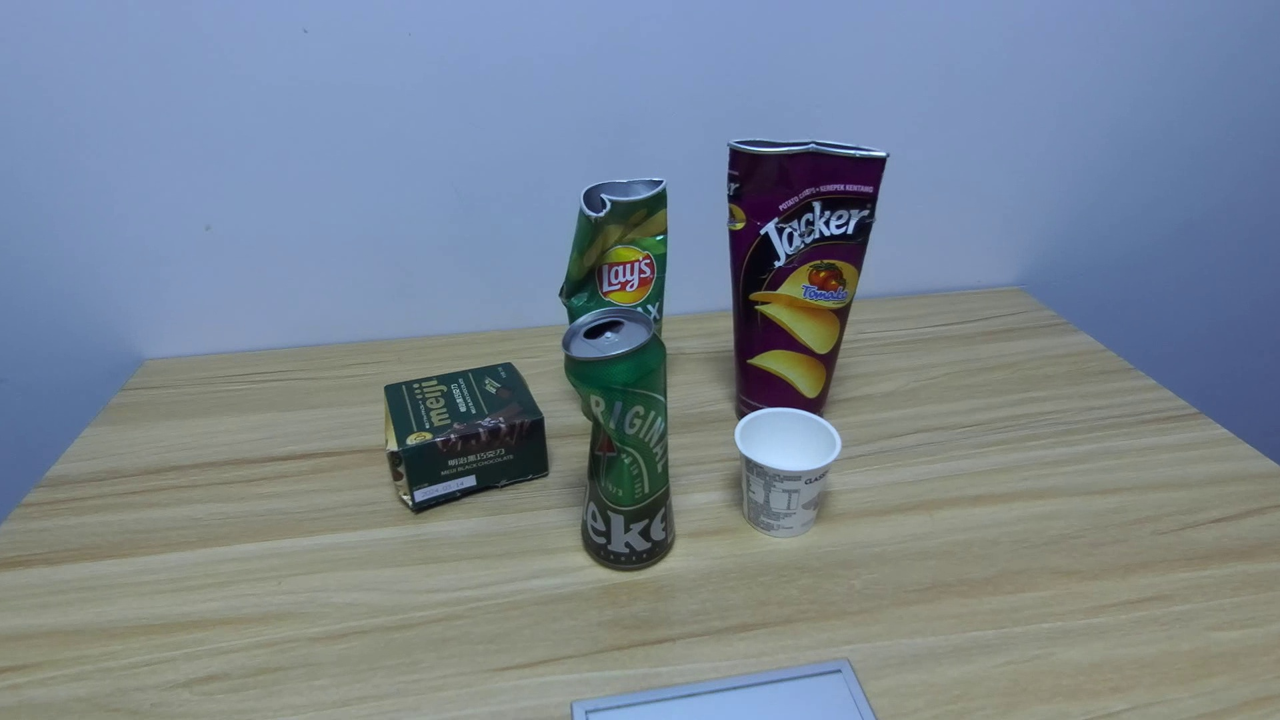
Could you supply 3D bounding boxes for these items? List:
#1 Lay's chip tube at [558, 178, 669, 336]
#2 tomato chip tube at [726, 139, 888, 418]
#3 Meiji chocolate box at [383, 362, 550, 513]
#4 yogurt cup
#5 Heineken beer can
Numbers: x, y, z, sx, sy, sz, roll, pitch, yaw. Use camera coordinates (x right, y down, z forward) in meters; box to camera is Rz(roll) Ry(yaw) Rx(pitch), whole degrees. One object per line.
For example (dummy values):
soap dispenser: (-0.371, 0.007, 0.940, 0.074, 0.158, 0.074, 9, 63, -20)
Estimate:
Lay's chip tube: (-0.018, -0.045, 0.582, 0.069, 0.201, 0.077, 9, 36, 15)
tomato chip tube: (0.118, -0.053, 0.564, 0.078, 0.236, 0.089, -18, 37, -24)
Meiji chocolate box: (-0.142, 0.055, 0.571, 0.123, 0.058, 0.115, -13, 31, -20)
yogurt cup: (0.100, 0.081, 0.497, 0.072, 0.068, 0.072, -1, 31, 1)
Heineken beer can: (-0.012, 0.054, 0.453, 0.069, 0.168, 0.068, 13, 35, 28)
